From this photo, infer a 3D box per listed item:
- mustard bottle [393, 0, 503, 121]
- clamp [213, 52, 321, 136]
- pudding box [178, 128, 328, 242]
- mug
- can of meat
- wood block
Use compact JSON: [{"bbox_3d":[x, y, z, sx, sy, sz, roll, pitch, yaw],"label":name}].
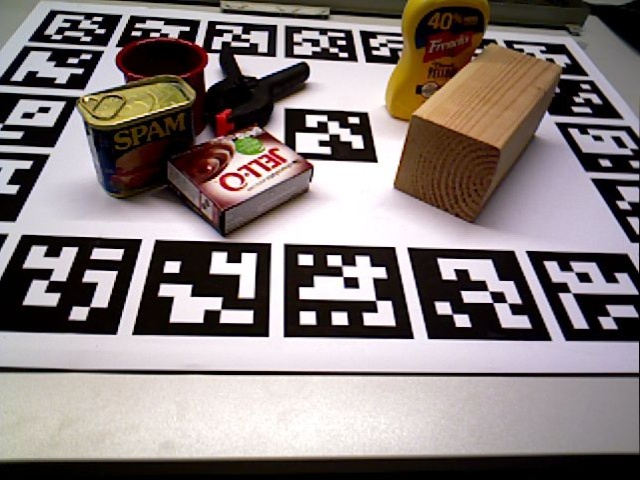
[{"bbox_3d":[0.144,-0.225,0.592,0.095,0.196,0.057,-2,47,-8],"label":"mustard bottle"},{"bbox_3d":[-0.076,-0.173,0.634,0.122,0.037,0.161,17,49,7],"label":"clamp"},{"bbox_3d":[-0.063,-0.056,0.516,0.111,0.039,0.090,-30,57,-32],"label":"pudding box"},{"bbox_3d":[-0.155,-0.151,0.597,0.093,0.083,0.114,18,48,10],"label":"mug"},{"bbox_3d":[-0.158,-0.095,0.502,0.100,0.086,0.057,-22,54,-26],"label":"can of meat"},{"bbox_3d":[0.184,-0.111,0.566,0.090,0.093,0.201,28,47,22],"label":"wood block"}]
